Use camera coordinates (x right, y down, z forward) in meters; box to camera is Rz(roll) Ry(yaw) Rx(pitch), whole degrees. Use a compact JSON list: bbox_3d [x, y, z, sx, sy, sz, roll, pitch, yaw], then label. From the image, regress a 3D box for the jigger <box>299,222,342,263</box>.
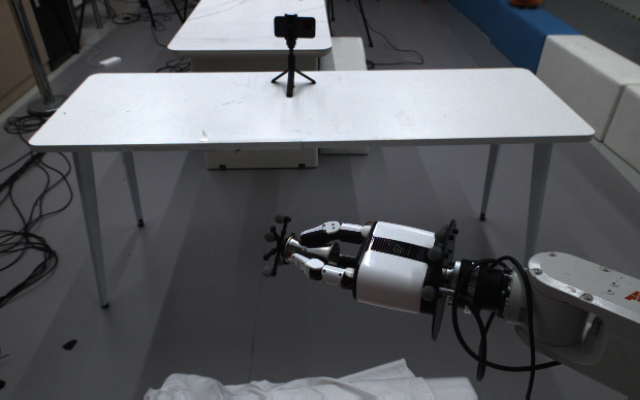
[{"bbox_3d":[-0.006,0.073,0.687,0.071,0.043,0.043,10,35,22],"label":"jigger"}]
